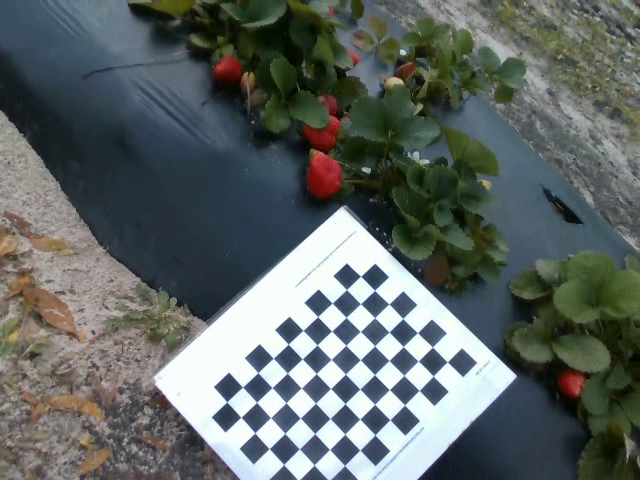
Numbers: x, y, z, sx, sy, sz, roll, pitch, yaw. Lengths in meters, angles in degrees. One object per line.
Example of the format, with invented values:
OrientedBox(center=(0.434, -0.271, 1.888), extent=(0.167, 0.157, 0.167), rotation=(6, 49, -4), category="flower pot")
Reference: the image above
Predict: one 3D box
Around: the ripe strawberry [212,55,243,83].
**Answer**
OrientedBox(center=(-0.128, -0.235, 0.818), extent=(0.044, 0.041, 0.051), rotation=(25, 31, 11), category="ripe strawberry")

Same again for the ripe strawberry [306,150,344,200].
OrientedBox(center=(-0.002, -0.089, 0.768), extent=(0.057, 0.056, 0.065), rotation=(2, -15, 18), category="ripe strawberry")
